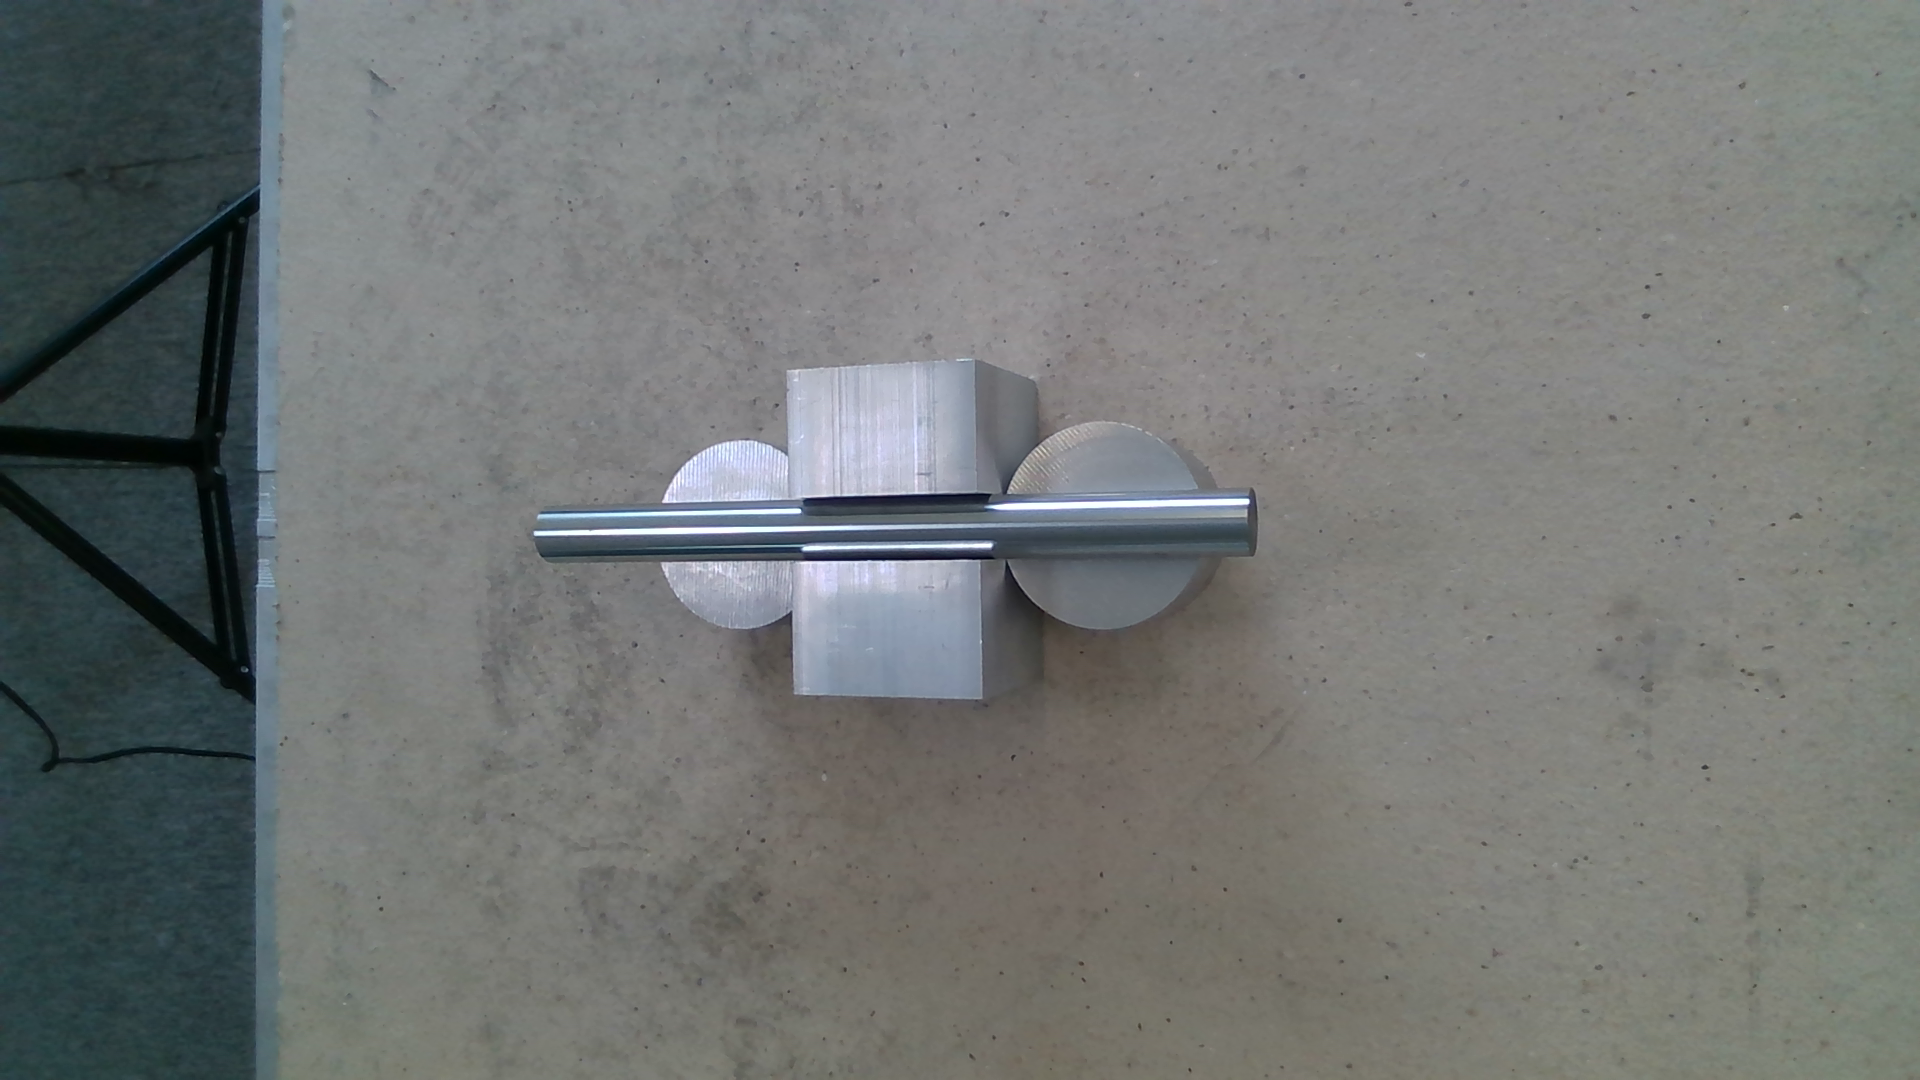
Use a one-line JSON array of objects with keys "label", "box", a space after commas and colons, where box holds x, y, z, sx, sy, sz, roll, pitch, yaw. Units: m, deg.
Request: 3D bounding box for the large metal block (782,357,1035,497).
[{"label": "large metal block", "box": [-0.018, -0.043, 0.563, 0.080, 0.080, 0.050, -1, 90, 20]}]

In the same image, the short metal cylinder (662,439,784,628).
[{"label": "short metal cylinder", "box": [-0.085, -0.003, 0.605, 0.080, 0.050, 0.080, 0, 91, 20]}]

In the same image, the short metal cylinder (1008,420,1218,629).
[{"label": "short metal cylinder", "box": [0.062, -0.006, 0.550, 0.080, 0.050, 0.080, 0, 91, 20]}]

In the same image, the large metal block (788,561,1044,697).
[{"label": "large metal block", "box": [-0.016, 0.034, 0.563, 0.080, 0.080, 0.050, -1, 90, 20]}]

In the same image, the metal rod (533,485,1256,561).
[{"label": "metal rod", "box": [-0.036, -0.005, 0.546, 0.300, 0.025, 0.025, -1, 90, 20]}]
